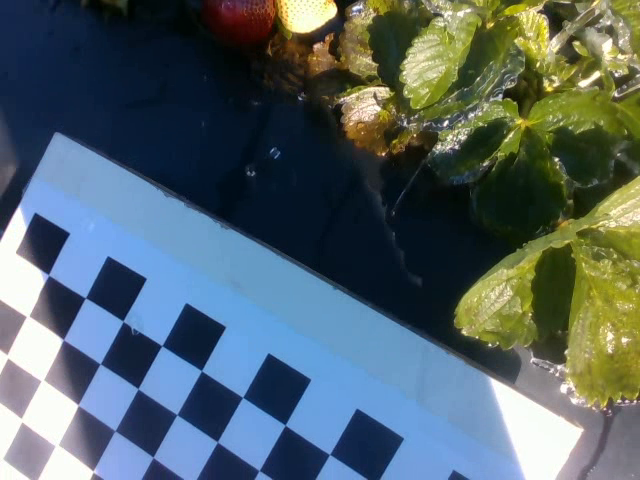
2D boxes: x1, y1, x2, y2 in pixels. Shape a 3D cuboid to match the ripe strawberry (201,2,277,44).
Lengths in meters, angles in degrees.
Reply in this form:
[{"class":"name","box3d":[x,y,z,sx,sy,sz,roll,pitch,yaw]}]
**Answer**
[{"class":"ripe strawberry","box3d":[-0.040,-0.112,0.293,0.040,0.042,0.053,-8,23,10]}]
